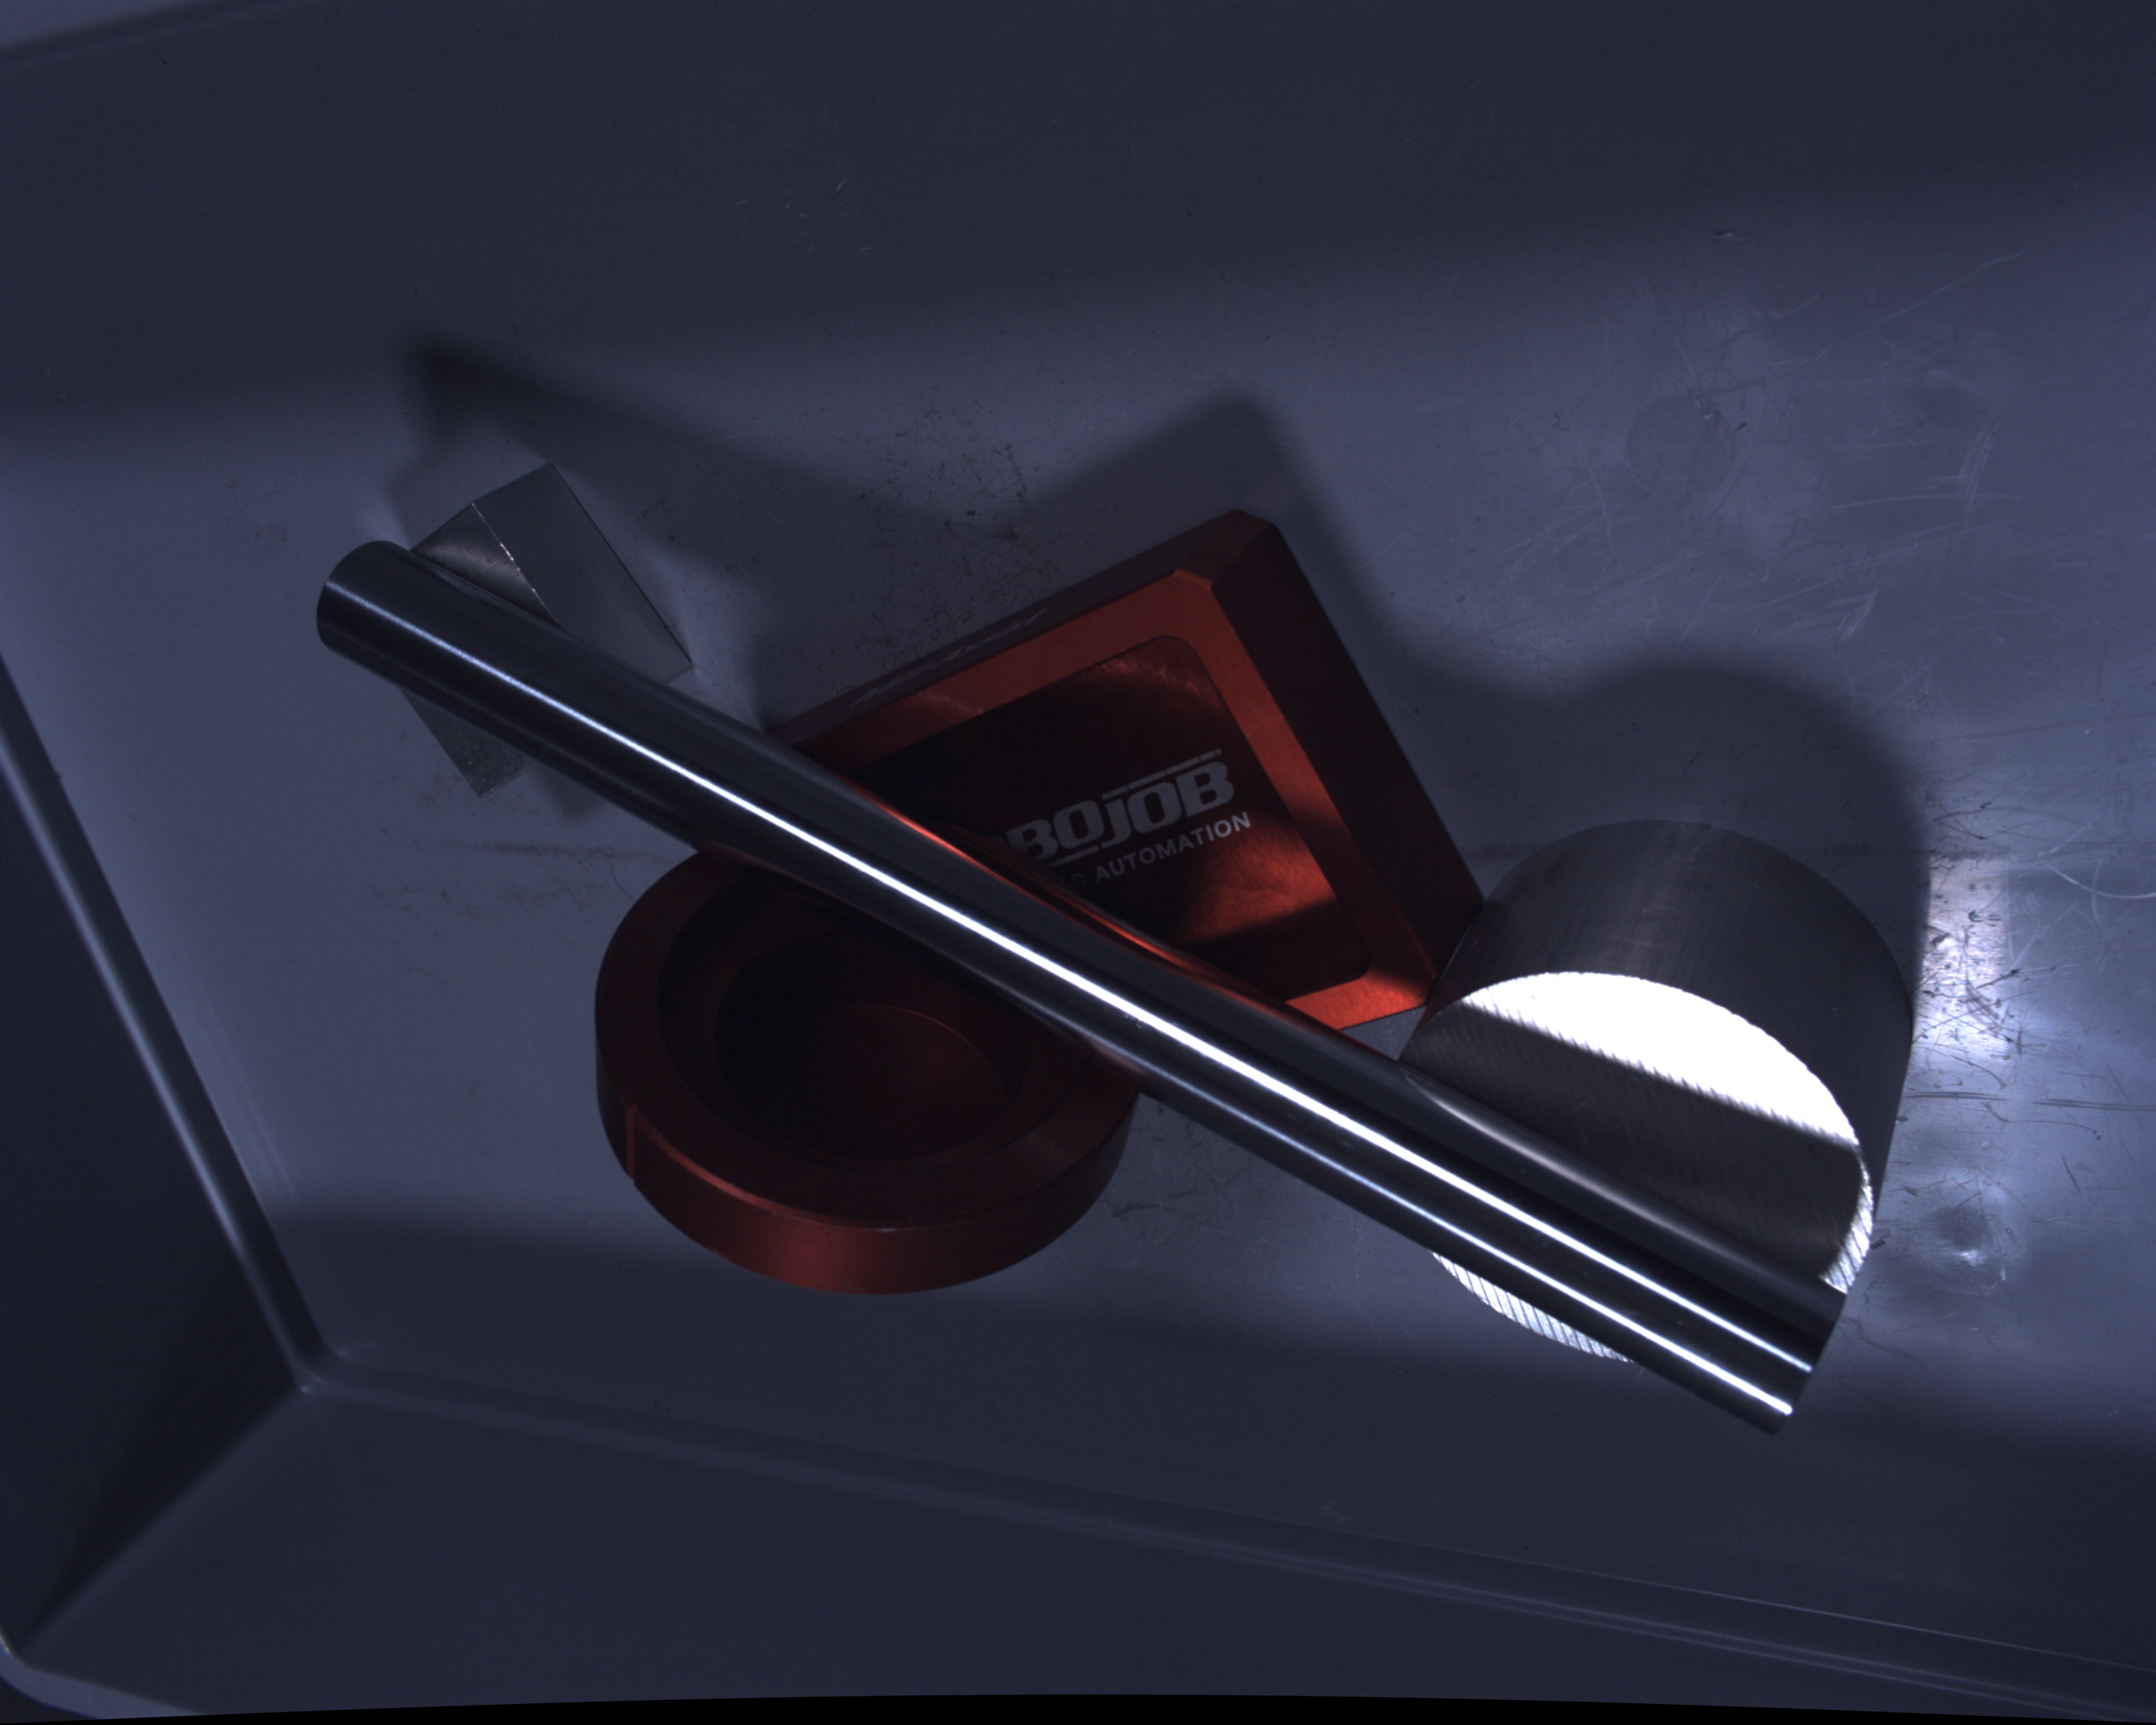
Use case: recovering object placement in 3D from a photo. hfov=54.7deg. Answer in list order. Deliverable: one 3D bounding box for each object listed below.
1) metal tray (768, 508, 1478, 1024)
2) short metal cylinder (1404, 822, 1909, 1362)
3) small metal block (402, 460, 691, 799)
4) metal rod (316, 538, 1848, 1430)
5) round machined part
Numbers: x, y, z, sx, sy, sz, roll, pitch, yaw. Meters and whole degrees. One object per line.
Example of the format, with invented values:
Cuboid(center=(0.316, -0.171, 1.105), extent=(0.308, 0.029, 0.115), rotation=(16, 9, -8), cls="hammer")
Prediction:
Cuboid(center=(-0.002, -0.002, 0.401), extent=(0.130, 0.030, 0.090), rotation=(-21, 108, 35), cls="metal tray")
Cuboid(center=(0.099, 0.040, 0.362), extent=(0.080, 0.050, 0.079), rotation=(13, 124, 20), cls="short metal cylinder")
Cuboid(center=(-0.119, -0.048, 0.437), extent=(0.050, 0.025, 0.050), rotation=(-24, 106, 36), cls="small metal block")
Cuboid(center=(-0.015, 0.011, 0.367), extent=(0.301, 0.025, 0.025), rotation=(27, 128, 19), cls="metal rod")
Cuboid(center=(-0.040, 0.039, 0.386), extent=(0.098, 0.098, 0.042), rotation=(25, 135, 12), cls="round machined part")
